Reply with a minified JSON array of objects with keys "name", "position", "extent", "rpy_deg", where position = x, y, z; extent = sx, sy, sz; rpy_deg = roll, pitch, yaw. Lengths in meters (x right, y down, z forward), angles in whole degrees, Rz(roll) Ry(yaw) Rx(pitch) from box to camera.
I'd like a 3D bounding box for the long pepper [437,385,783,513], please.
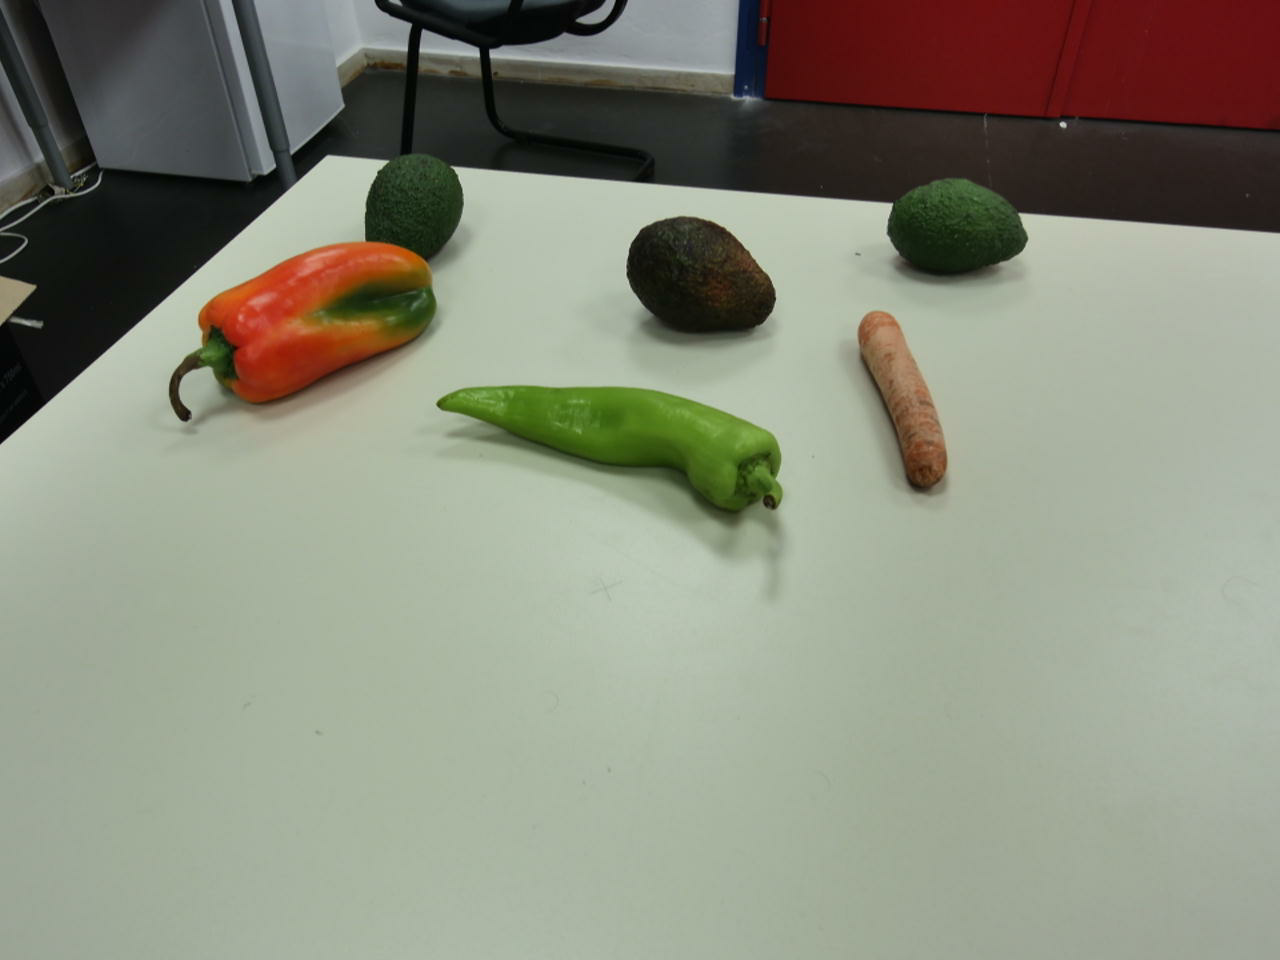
[{"name":"long pepper","position":[-0.009,-0.027,0.538],"extent":[0.205,0.045,0.065],"rpy_deg":[19,43,23]}]
